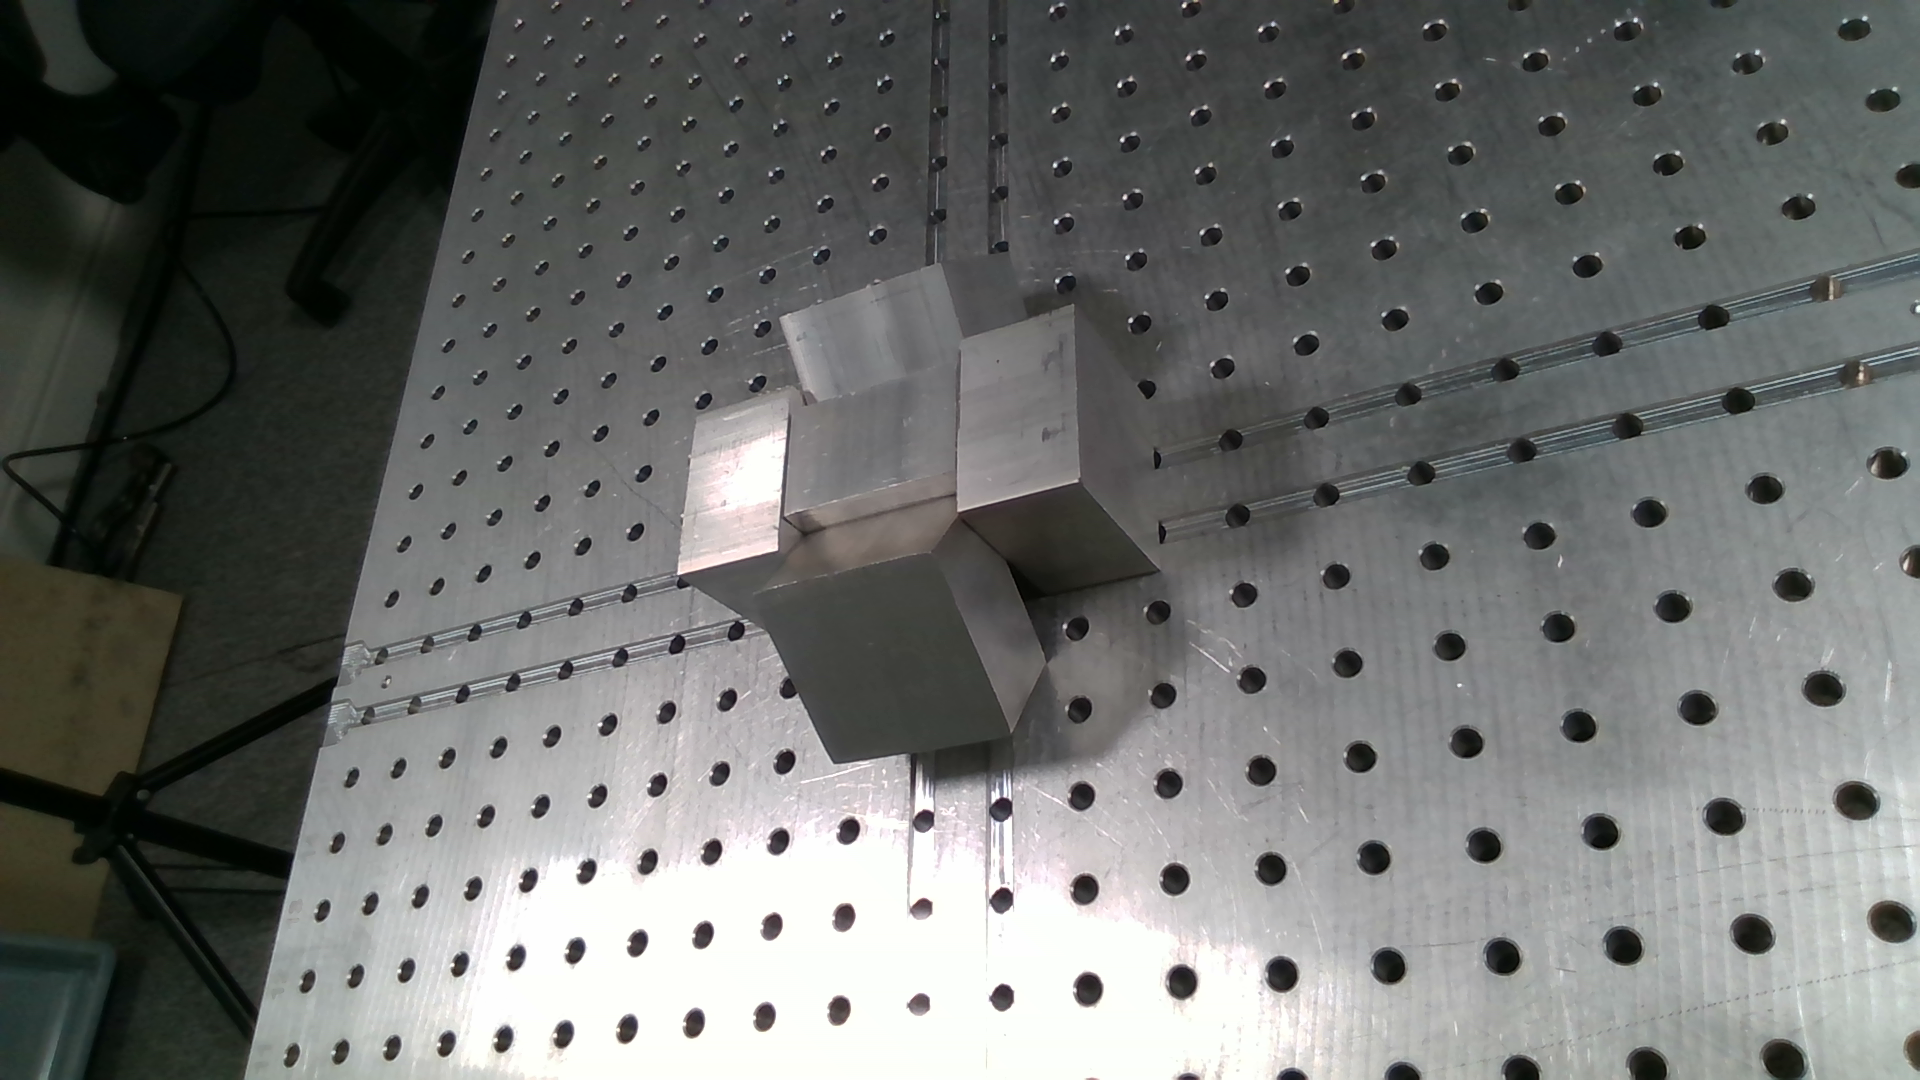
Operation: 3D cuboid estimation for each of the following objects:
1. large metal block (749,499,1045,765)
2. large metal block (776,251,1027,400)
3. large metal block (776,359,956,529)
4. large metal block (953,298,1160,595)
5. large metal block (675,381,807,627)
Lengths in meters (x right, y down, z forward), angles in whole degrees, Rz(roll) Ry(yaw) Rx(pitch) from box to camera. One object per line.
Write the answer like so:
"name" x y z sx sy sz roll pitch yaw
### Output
"large metal block" -0.023 0.035 0.537 0.080 0.080 0.050 -13 22 25
"large metal block" -0.020 -0.088 0.604 0.080 0.080 0.050 -14 98 26
"large metal block" -0.019 -0.024 0.576 0.080 0.080 0.050 -14 59 25
"large metal block" 0.039 -0.034 0.546 0.050 0.080 0.080 -13 59 25
"large metal block" -0.075 -0.010 0.603 0.050 0.080 0.080 -13 59 25
